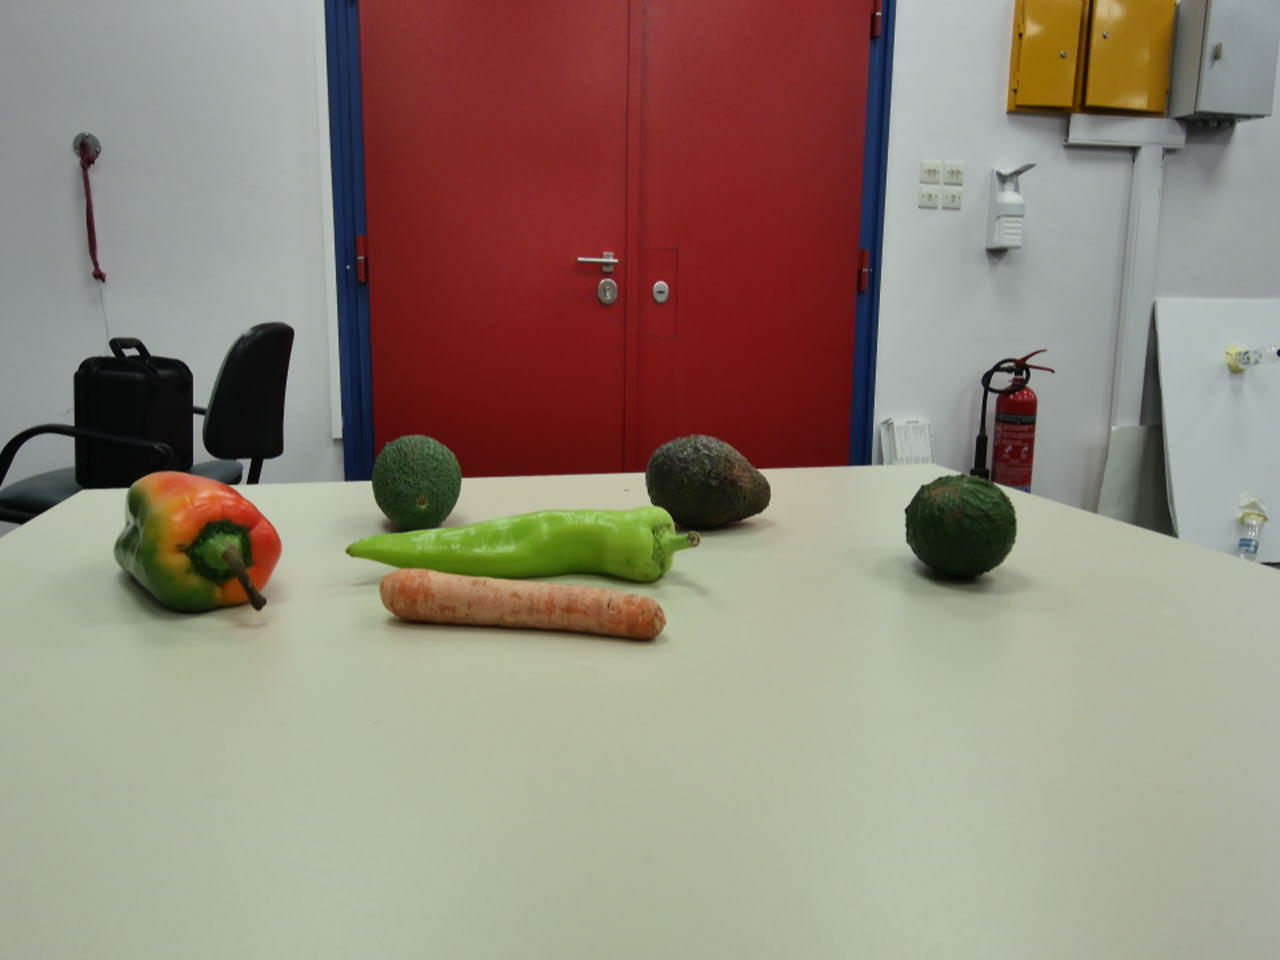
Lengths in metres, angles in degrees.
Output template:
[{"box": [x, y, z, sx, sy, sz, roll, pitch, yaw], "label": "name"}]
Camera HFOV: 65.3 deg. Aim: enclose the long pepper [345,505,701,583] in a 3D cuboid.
[{"box": [-0.065, 0.038, 0.600, 0.205, 0.045, 0.065, 0, 8, 3], "label": "long pepper"}]
